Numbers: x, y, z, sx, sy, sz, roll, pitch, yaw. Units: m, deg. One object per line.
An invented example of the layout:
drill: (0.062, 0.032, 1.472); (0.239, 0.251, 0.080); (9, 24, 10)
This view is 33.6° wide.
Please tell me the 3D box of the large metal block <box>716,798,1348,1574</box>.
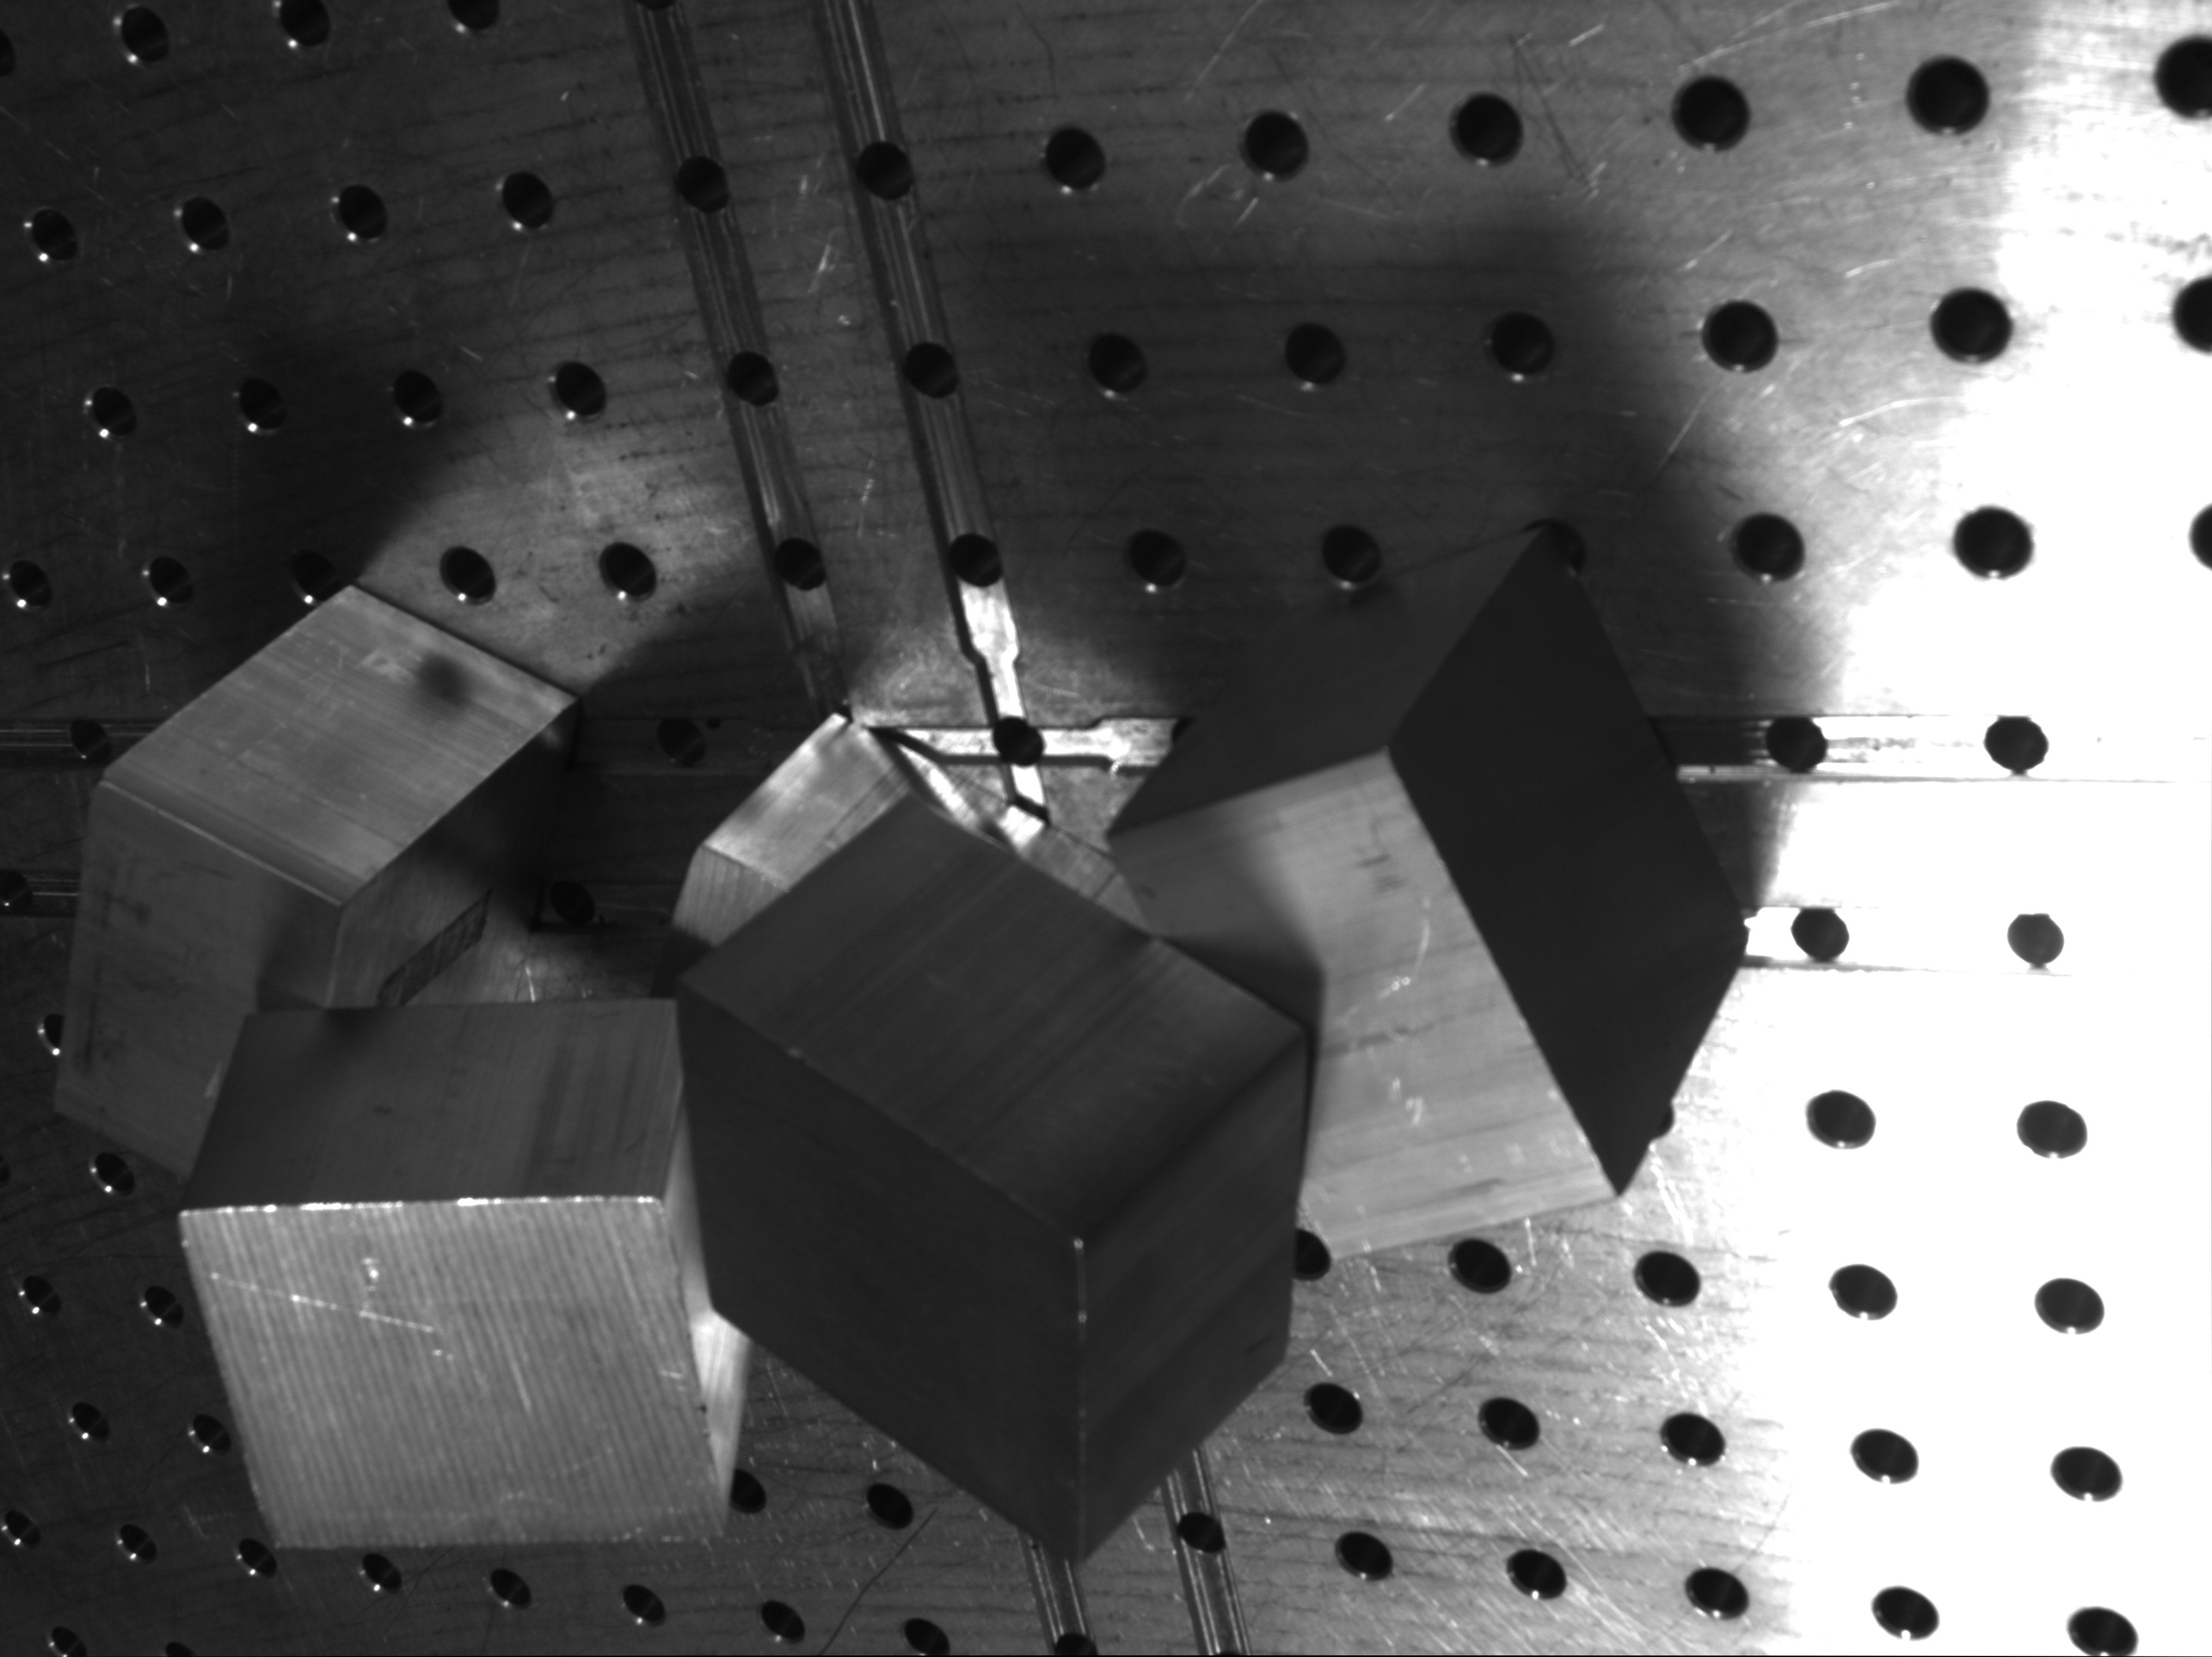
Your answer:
large metal block: (-0.011, 0.055, 0.569); (0.080, 0.050, 0.080); (30, 142, 27)

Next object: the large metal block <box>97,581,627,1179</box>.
large metal block: (-0.137, 0.014, 0.675); (0.050, 0.080, 0.080); (26, 127, 10)

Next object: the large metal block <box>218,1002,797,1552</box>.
large metal block: (-0.099, 0.078, 0.631); (0.080, 0.050, 0.080); (-2, 127, 4)

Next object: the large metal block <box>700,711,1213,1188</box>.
large metal block: (-0.028, 0.039, 0.655); (0.080, 0.050, 0.080); (28, 127, 9)

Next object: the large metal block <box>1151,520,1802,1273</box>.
large metal block: (0.061, 0.010, 0.574); (0.050, 0.080, 0.080); (-17, 110, 33)
